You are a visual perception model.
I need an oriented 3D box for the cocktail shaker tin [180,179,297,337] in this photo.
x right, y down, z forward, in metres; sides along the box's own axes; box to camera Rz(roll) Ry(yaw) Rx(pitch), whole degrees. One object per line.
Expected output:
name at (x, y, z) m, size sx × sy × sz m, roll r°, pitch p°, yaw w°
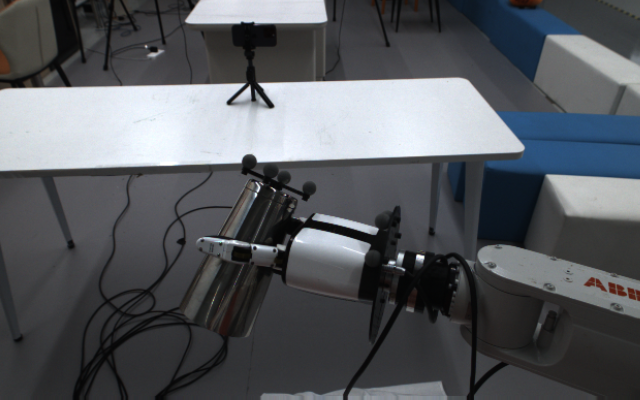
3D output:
cocktail shaker tin at (-0.088, 0.064, 0.579) m, size 0.093 × 0.170 × 0.093 m, roll 23°, pitch 0°, yaw 0°
